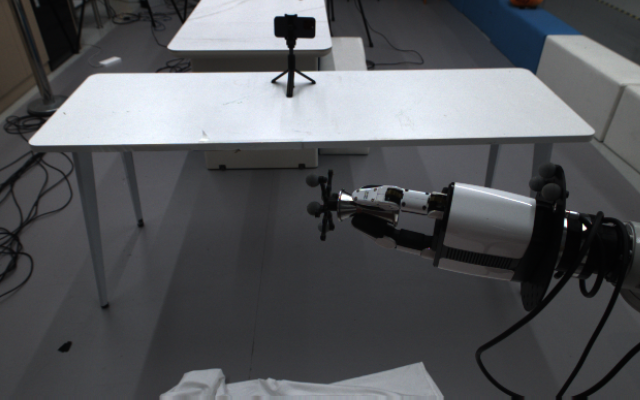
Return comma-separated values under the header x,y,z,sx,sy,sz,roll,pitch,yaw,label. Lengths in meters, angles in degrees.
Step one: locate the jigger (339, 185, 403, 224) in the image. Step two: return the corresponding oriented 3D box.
x,y,z,sx,sy,sz,roll,pitch,yaw,label
0.065,0.004,0.576,0.071,0.043,0.043,2,34,15,jigger
